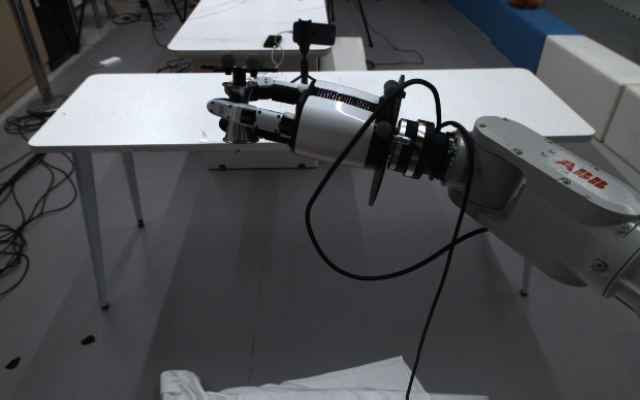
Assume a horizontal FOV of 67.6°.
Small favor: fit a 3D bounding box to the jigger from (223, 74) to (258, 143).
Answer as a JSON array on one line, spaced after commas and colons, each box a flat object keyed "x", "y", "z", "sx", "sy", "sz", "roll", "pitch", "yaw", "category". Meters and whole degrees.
[{"x": -0.096, "y": -0.106, "z": 0.587, "sx": 0.043, "sy": 0.071, "sz": 0.043, "roll": 2, "pitch": 20, "yaw": -1, "category": "jigger"}]
